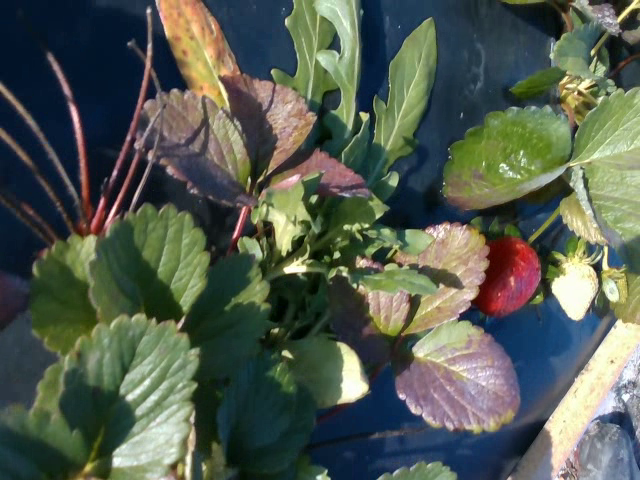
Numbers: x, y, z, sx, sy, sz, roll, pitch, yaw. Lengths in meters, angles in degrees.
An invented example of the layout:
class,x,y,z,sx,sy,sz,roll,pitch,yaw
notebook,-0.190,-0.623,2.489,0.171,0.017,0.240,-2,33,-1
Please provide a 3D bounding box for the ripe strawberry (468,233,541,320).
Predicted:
class,x,y,z,sx,sy,sz,roll,pitch,yaw
ripe strawberry,0.073,0.015,0.255,0.036,0.044,0.054,35,23,17
